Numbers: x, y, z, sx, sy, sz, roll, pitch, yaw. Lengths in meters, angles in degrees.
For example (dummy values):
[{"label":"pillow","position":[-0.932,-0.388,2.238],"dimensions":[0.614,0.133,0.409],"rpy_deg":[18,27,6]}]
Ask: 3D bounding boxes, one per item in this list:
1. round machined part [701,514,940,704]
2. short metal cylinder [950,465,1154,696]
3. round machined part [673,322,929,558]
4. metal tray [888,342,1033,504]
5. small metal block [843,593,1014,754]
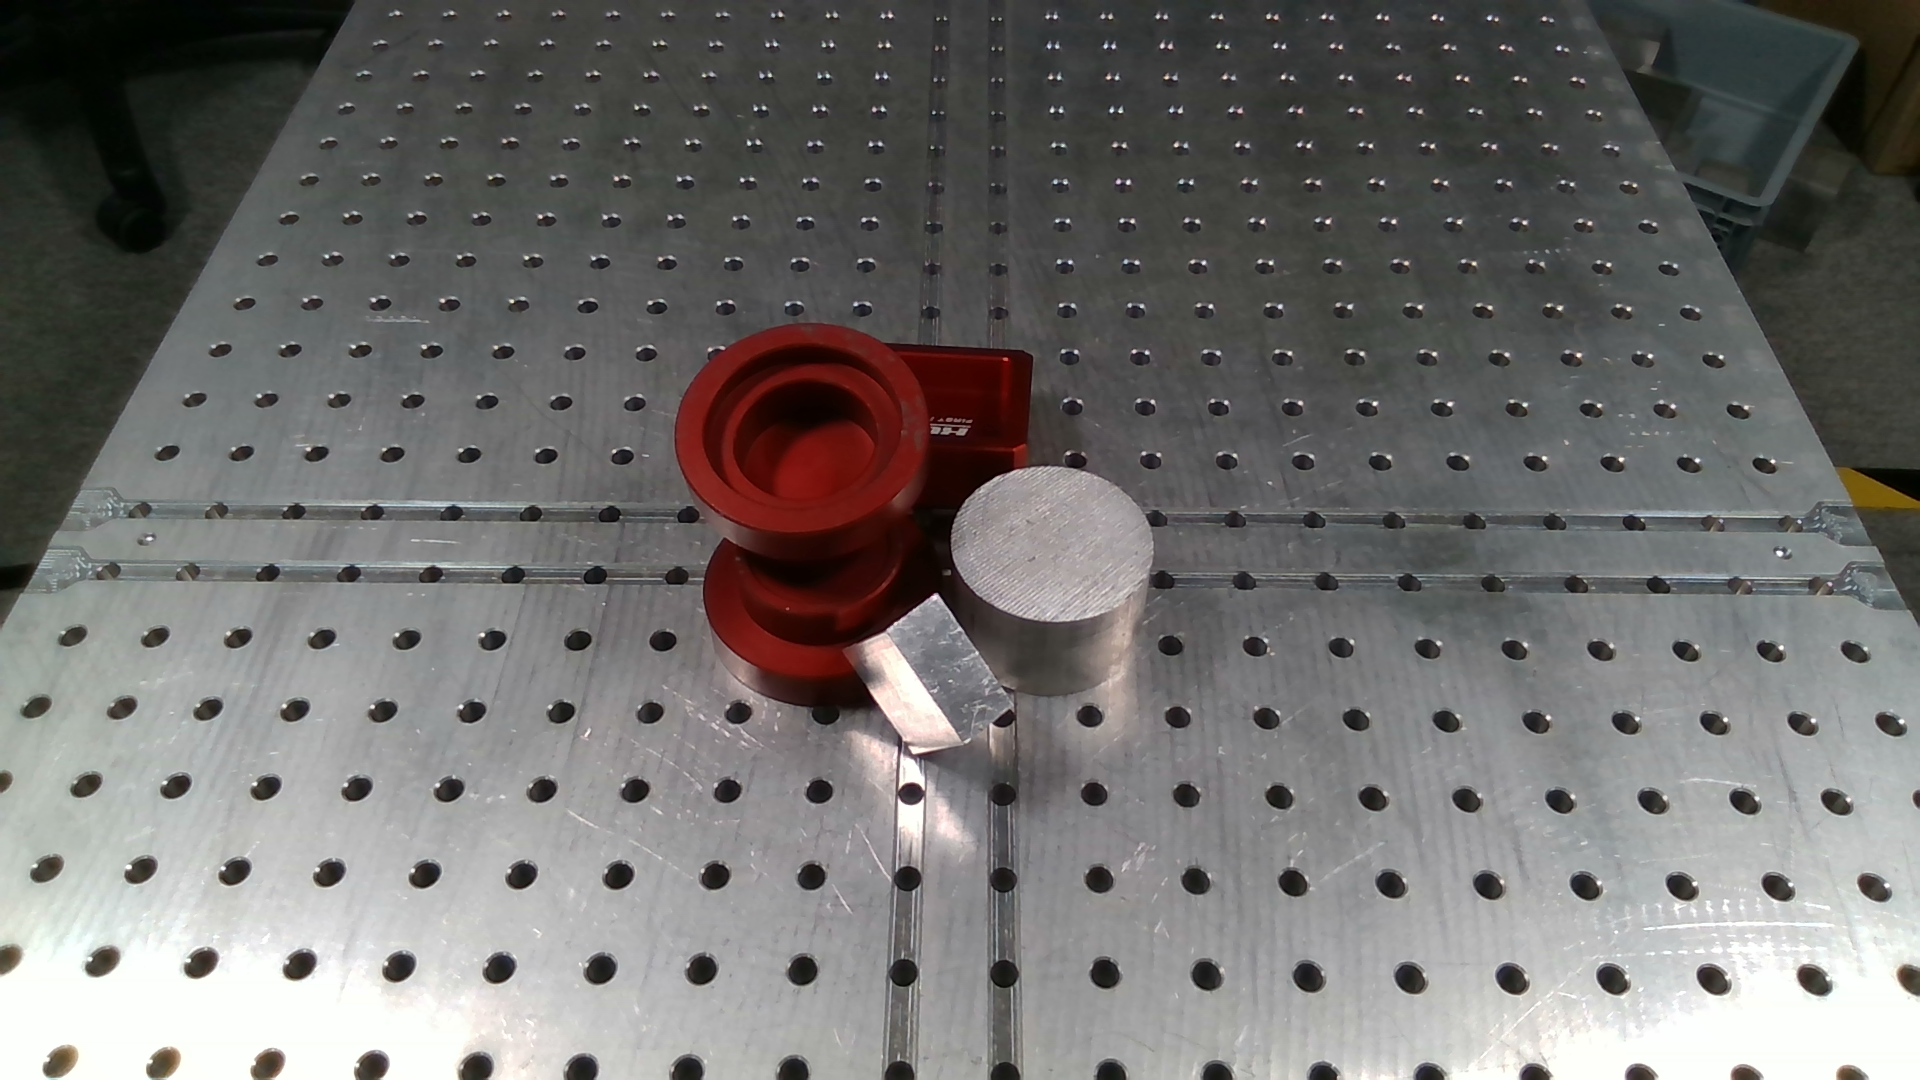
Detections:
[{"label":"round machined part","position":[-0.057,0.015,0.565],"dimensions":[0.098,0.042,0.098],"rpy_deg":[0,50,0]},{"label":"short metal cylinder","position":[0.036,0.016,0.560],"dimensions":[0.080,0.050,0.080],"rpy_deg":[0,50,0]},{"label":"round machined part","position":[-0.061,-0.035,0.546],"dimensions":[0.098,0.042,0.098],"rpy_deg":[-1,60,1]},{"label":"metal tray","position":[-0.034,-0.055,0.619],"dimensions":[0.130,0.030,0.090],"rpy_deg":[4,36,3]},{"label":"small metal block","position":[-0.013,0.051,0.518],"dimensions":[0.025,0.050,0.050],"rpy_deg":[-36,94,-26]}]
